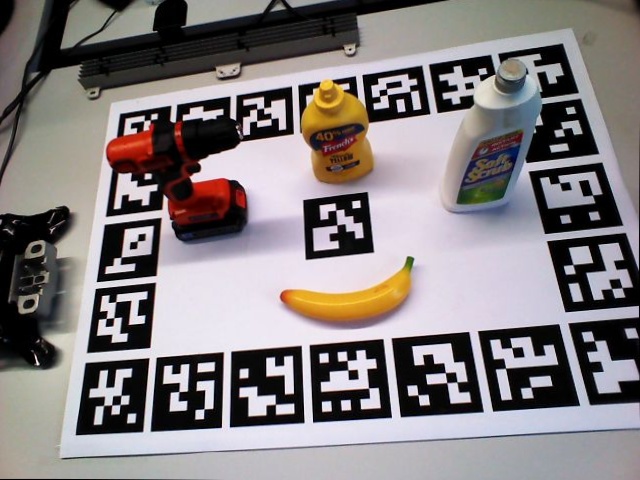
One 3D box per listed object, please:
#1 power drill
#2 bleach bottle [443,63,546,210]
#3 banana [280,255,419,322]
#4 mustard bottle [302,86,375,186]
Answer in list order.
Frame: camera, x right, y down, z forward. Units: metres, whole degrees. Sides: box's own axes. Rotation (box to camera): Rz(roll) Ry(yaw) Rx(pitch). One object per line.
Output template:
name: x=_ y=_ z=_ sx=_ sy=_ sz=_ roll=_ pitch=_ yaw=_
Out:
power drill: x=-0.164 y=-0.096 z=0.706 sx=0.185 sy=0.187 sz=0.057 roll=-13 pitch=65 yaw=9
bleach bottle: x=0.212 y=-0.122 z=0.644 sx=0.103 sy=0.251 sz=0.067 roll=2 pitch=67 yaw=11
banana: x=0.043 y=0.074 z=0.700 sx=0.198 sy=0.039 sz=0.074 roll=-12 pitch=67 yaw=9
mustard bottle: x=0.026 y=-0.147 z=0.726 sx=0.096 sy=0.192 sz=0.058 roll=-13 pitch=65 yaw=3
